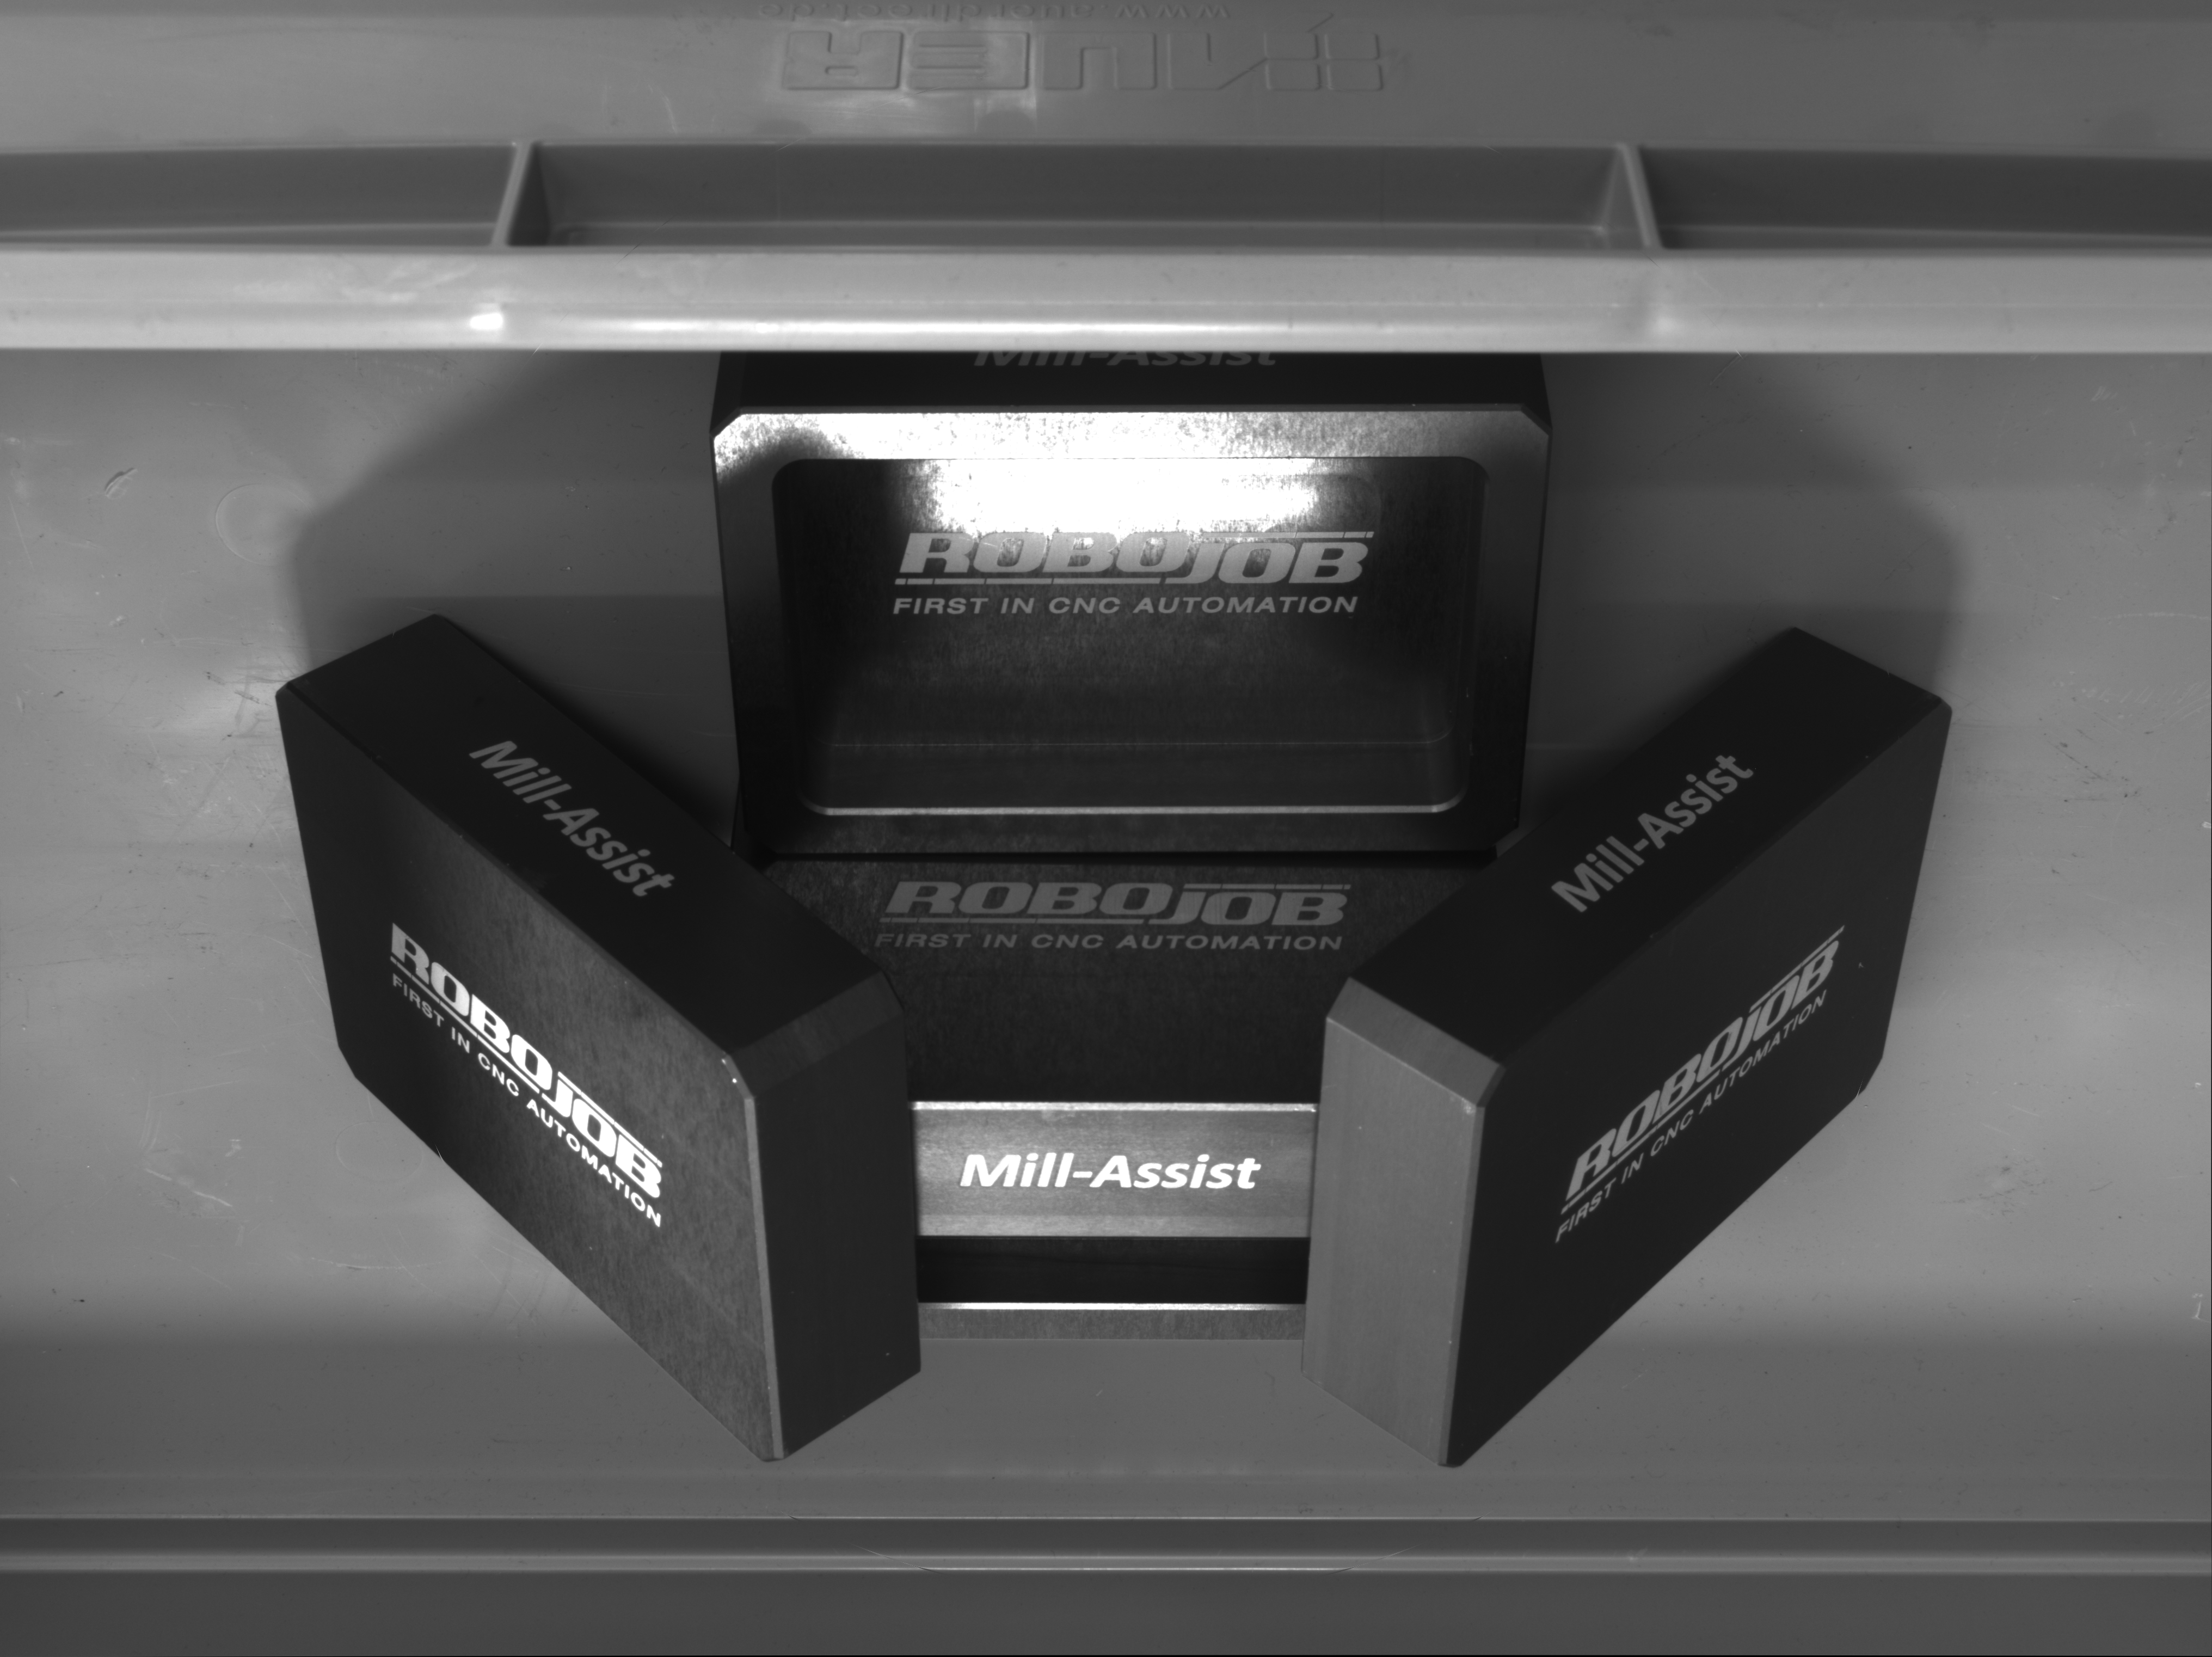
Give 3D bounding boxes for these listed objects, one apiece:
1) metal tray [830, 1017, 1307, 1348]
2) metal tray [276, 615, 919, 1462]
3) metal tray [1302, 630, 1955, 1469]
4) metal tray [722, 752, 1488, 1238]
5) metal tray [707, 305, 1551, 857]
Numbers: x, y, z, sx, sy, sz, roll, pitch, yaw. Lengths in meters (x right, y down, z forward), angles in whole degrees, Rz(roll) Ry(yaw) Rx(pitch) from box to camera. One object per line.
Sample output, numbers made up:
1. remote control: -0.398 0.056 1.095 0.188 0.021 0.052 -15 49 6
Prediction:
1. metal tray: 0.001 0.055 0.678 0.130 0.030 0.090 0 130 -1
2. metal tray: -0.084 0.033 0.605 0.030 0.130 0.090 -29 138 -31
3. metal tray: 0.087 0.035 0.607 0.030 0.130 0.090 30 138 31
4. metal tray: 0.000 0.026 0.617 0.130 0.090 0.030 0 130 -1
5. metal tray: 0.004 -0.039 0.601 0.130 0.030 0.090 -1 130 0
